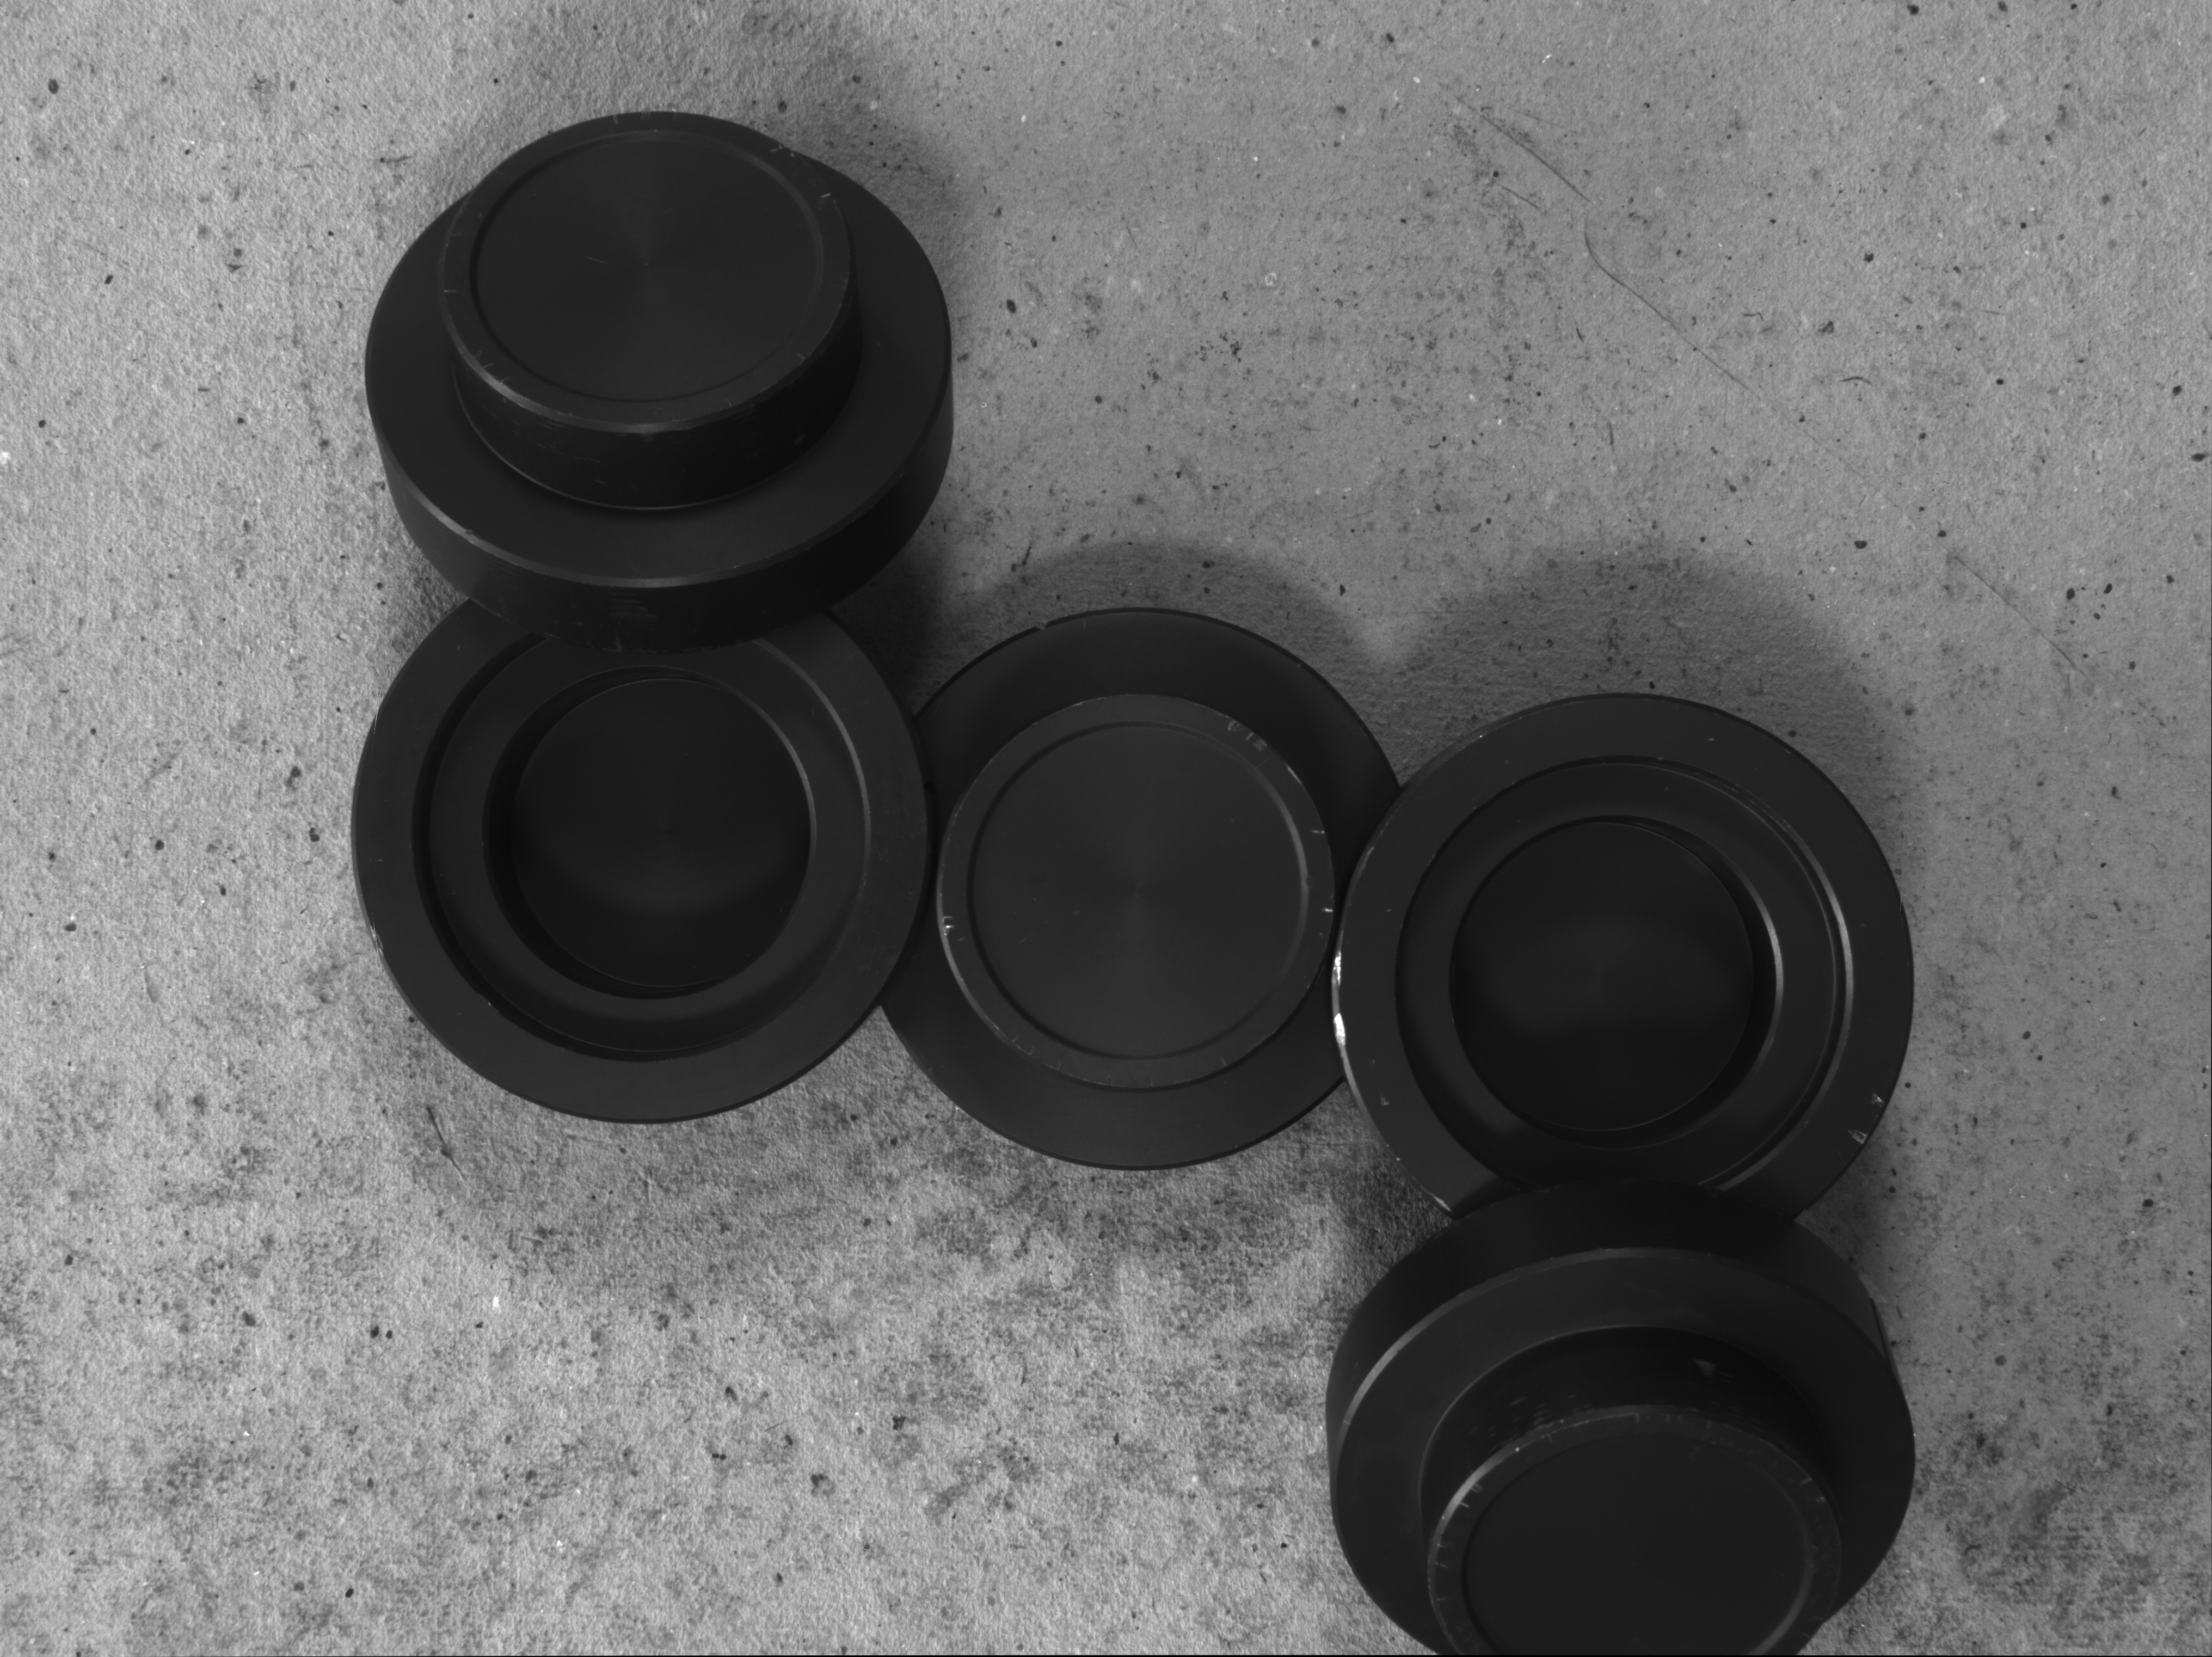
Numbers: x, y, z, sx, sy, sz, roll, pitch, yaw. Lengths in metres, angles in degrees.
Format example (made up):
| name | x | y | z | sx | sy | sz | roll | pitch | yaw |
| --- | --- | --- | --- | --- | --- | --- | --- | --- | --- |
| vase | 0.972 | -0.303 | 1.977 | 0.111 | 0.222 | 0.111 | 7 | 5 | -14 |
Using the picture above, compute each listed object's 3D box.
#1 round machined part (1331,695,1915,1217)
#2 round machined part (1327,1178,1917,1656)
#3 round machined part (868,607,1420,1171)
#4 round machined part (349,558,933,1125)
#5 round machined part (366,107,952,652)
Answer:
| name | x | y | z | sx | sy | sz | roll | pitch | yaw |
| --- | --- | --- | --- | --- | --- | --- | --- | --- | --- |
| round machined part | 0.087 | 0.026 | 0.636 | 0.098 | 0.042 | 0.098 | 0 | 90 | 1 |
| round machined part | 0.087 | 0.110 | 0.614 | 0.098 | 0.042 | 0.098 | 0 | 119 | 0 |
| round machined part | 0.006 | 0.010 | 0.635 | 0.098 | 0.042 | 0.098 | 0 | 88 | 1 |
| round machined part | -0.078 | 0.001 | 0.636 | 0.098 | 0.042 | 0.098 | 0 | 90 | 1 |
| round machined part | -0.075 | -0.081 | 0.614 | 0.098 | 0.042 | 0.098 | 1 | 59 | -1 |
